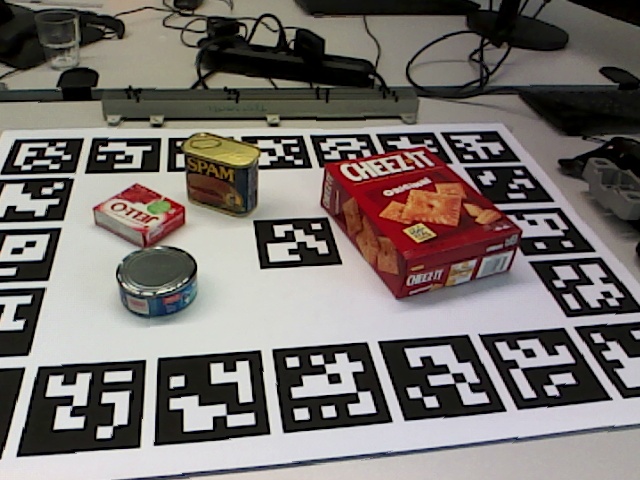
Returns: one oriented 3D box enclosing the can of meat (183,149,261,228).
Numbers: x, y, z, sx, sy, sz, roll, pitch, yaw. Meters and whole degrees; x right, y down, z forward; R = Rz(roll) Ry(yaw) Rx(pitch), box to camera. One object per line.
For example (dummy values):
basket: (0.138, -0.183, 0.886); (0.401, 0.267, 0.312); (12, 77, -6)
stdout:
can of meat: (-0.134, -0.069, 0.850); (0.102, 0.083, 0.058); (15, 37, 15)

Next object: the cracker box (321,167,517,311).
cracker box: (0.122, -0.013, 0.810); (0.163, 0.072, 0.215); (-12, 38, -24)

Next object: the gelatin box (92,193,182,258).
gelatin box: (-0.238, -0.022, 0.805); (0.090, 0.030, 0.073); (25, 38, 21)

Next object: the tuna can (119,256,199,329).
tuna can: (-0.180, 0.058, 0.695); (0.086, 0.033, 0.086); (3, 40, -3)
